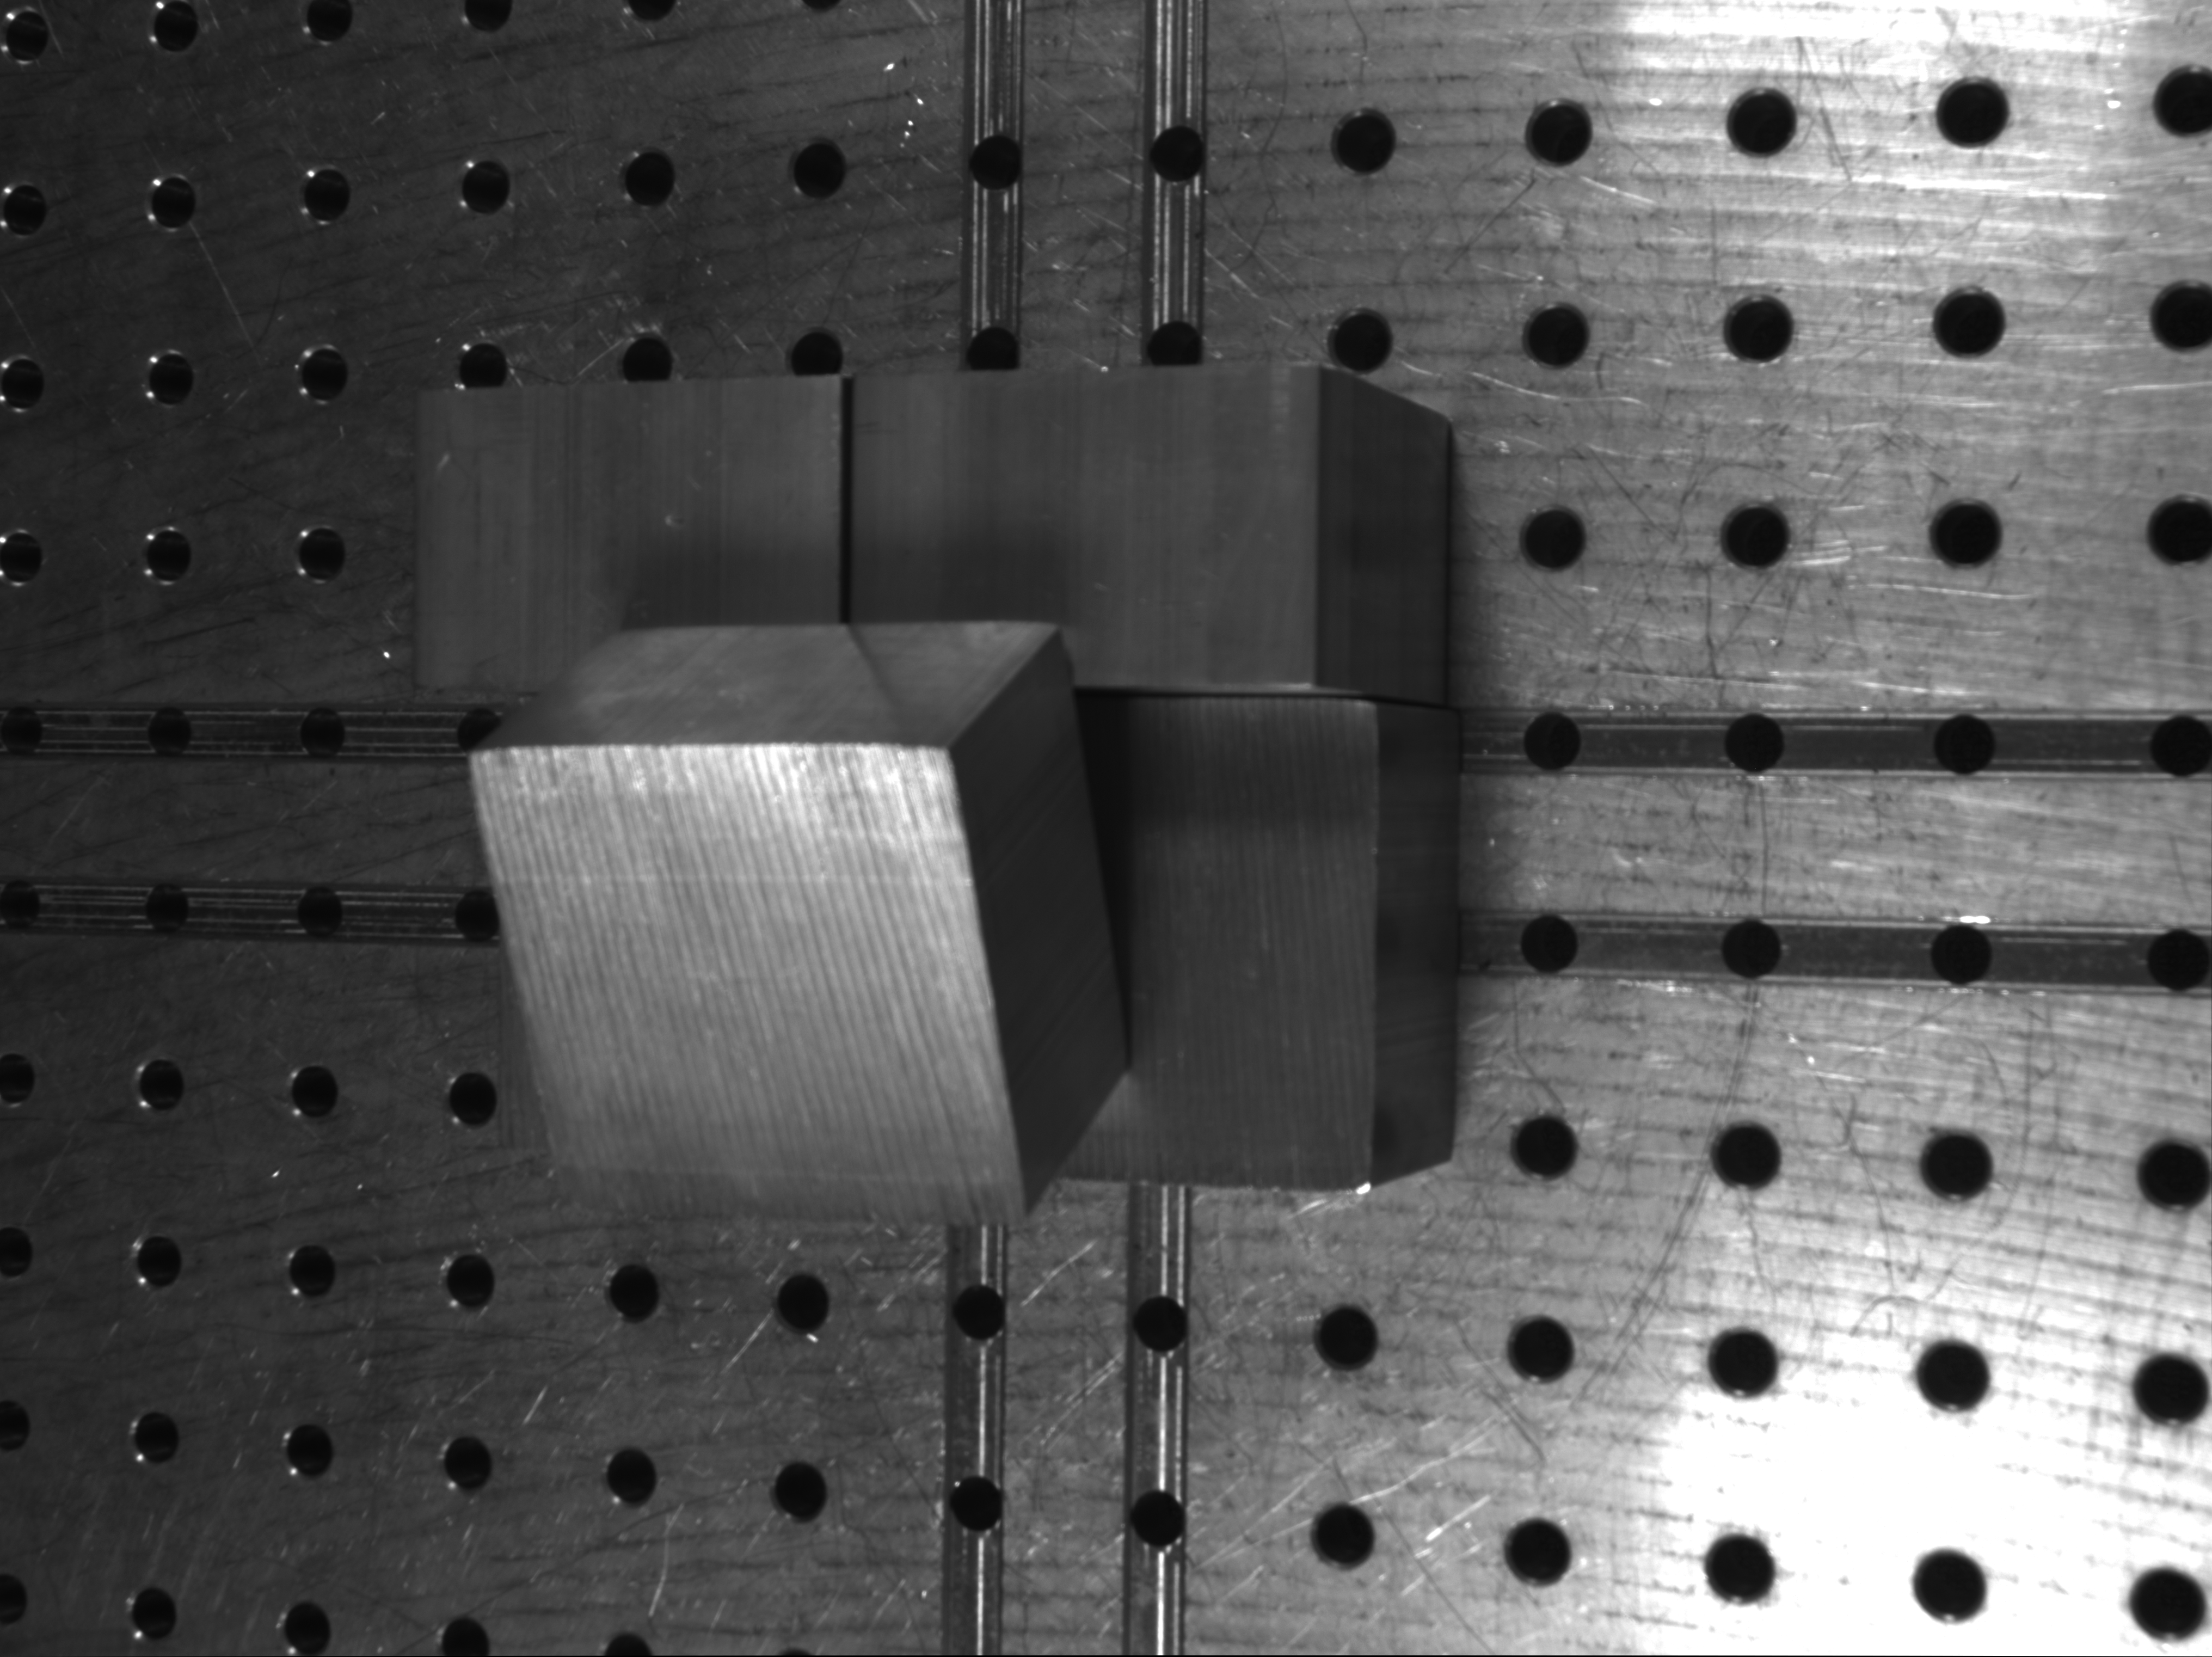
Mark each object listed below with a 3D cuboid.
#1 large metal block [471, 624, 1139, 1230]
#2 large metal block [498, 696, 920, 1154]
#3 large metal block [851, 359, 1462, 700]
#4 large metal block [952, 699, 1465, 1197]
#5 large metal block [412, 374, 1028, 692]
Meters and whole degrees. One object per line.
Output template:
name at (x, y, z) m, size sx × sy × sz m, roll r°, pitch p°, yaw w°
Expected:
large metal block at (-0.045, 0.015, 0.579) m, size 0.080 × 0.050 × 0.080 m, roll 0°, pitch 114°, yaw 20°
large metal block at (-0.060, 0.017, 0.653) m, size 0.080 × 0.050 × 0.080 m, roll 1°, pitch 90°, yaw 20°
large metal block at (0.010, -0.047, 0.613) m, size 0.080 × 0.080 × 0.050 m, roll 1°, pitch 90°, yaw 20°
large metal block at (0.016, 0.019, 0.625) m, size 0.080 × 0.050 × 0.080 m, roll 1°, pitch 90°, yaw 20°
large metal block at (-0.065, -0.048, 0.640) m, size 0.080 × 0.080 × 0.050 m, roll 1°, pitch 90°, yaw 20°
